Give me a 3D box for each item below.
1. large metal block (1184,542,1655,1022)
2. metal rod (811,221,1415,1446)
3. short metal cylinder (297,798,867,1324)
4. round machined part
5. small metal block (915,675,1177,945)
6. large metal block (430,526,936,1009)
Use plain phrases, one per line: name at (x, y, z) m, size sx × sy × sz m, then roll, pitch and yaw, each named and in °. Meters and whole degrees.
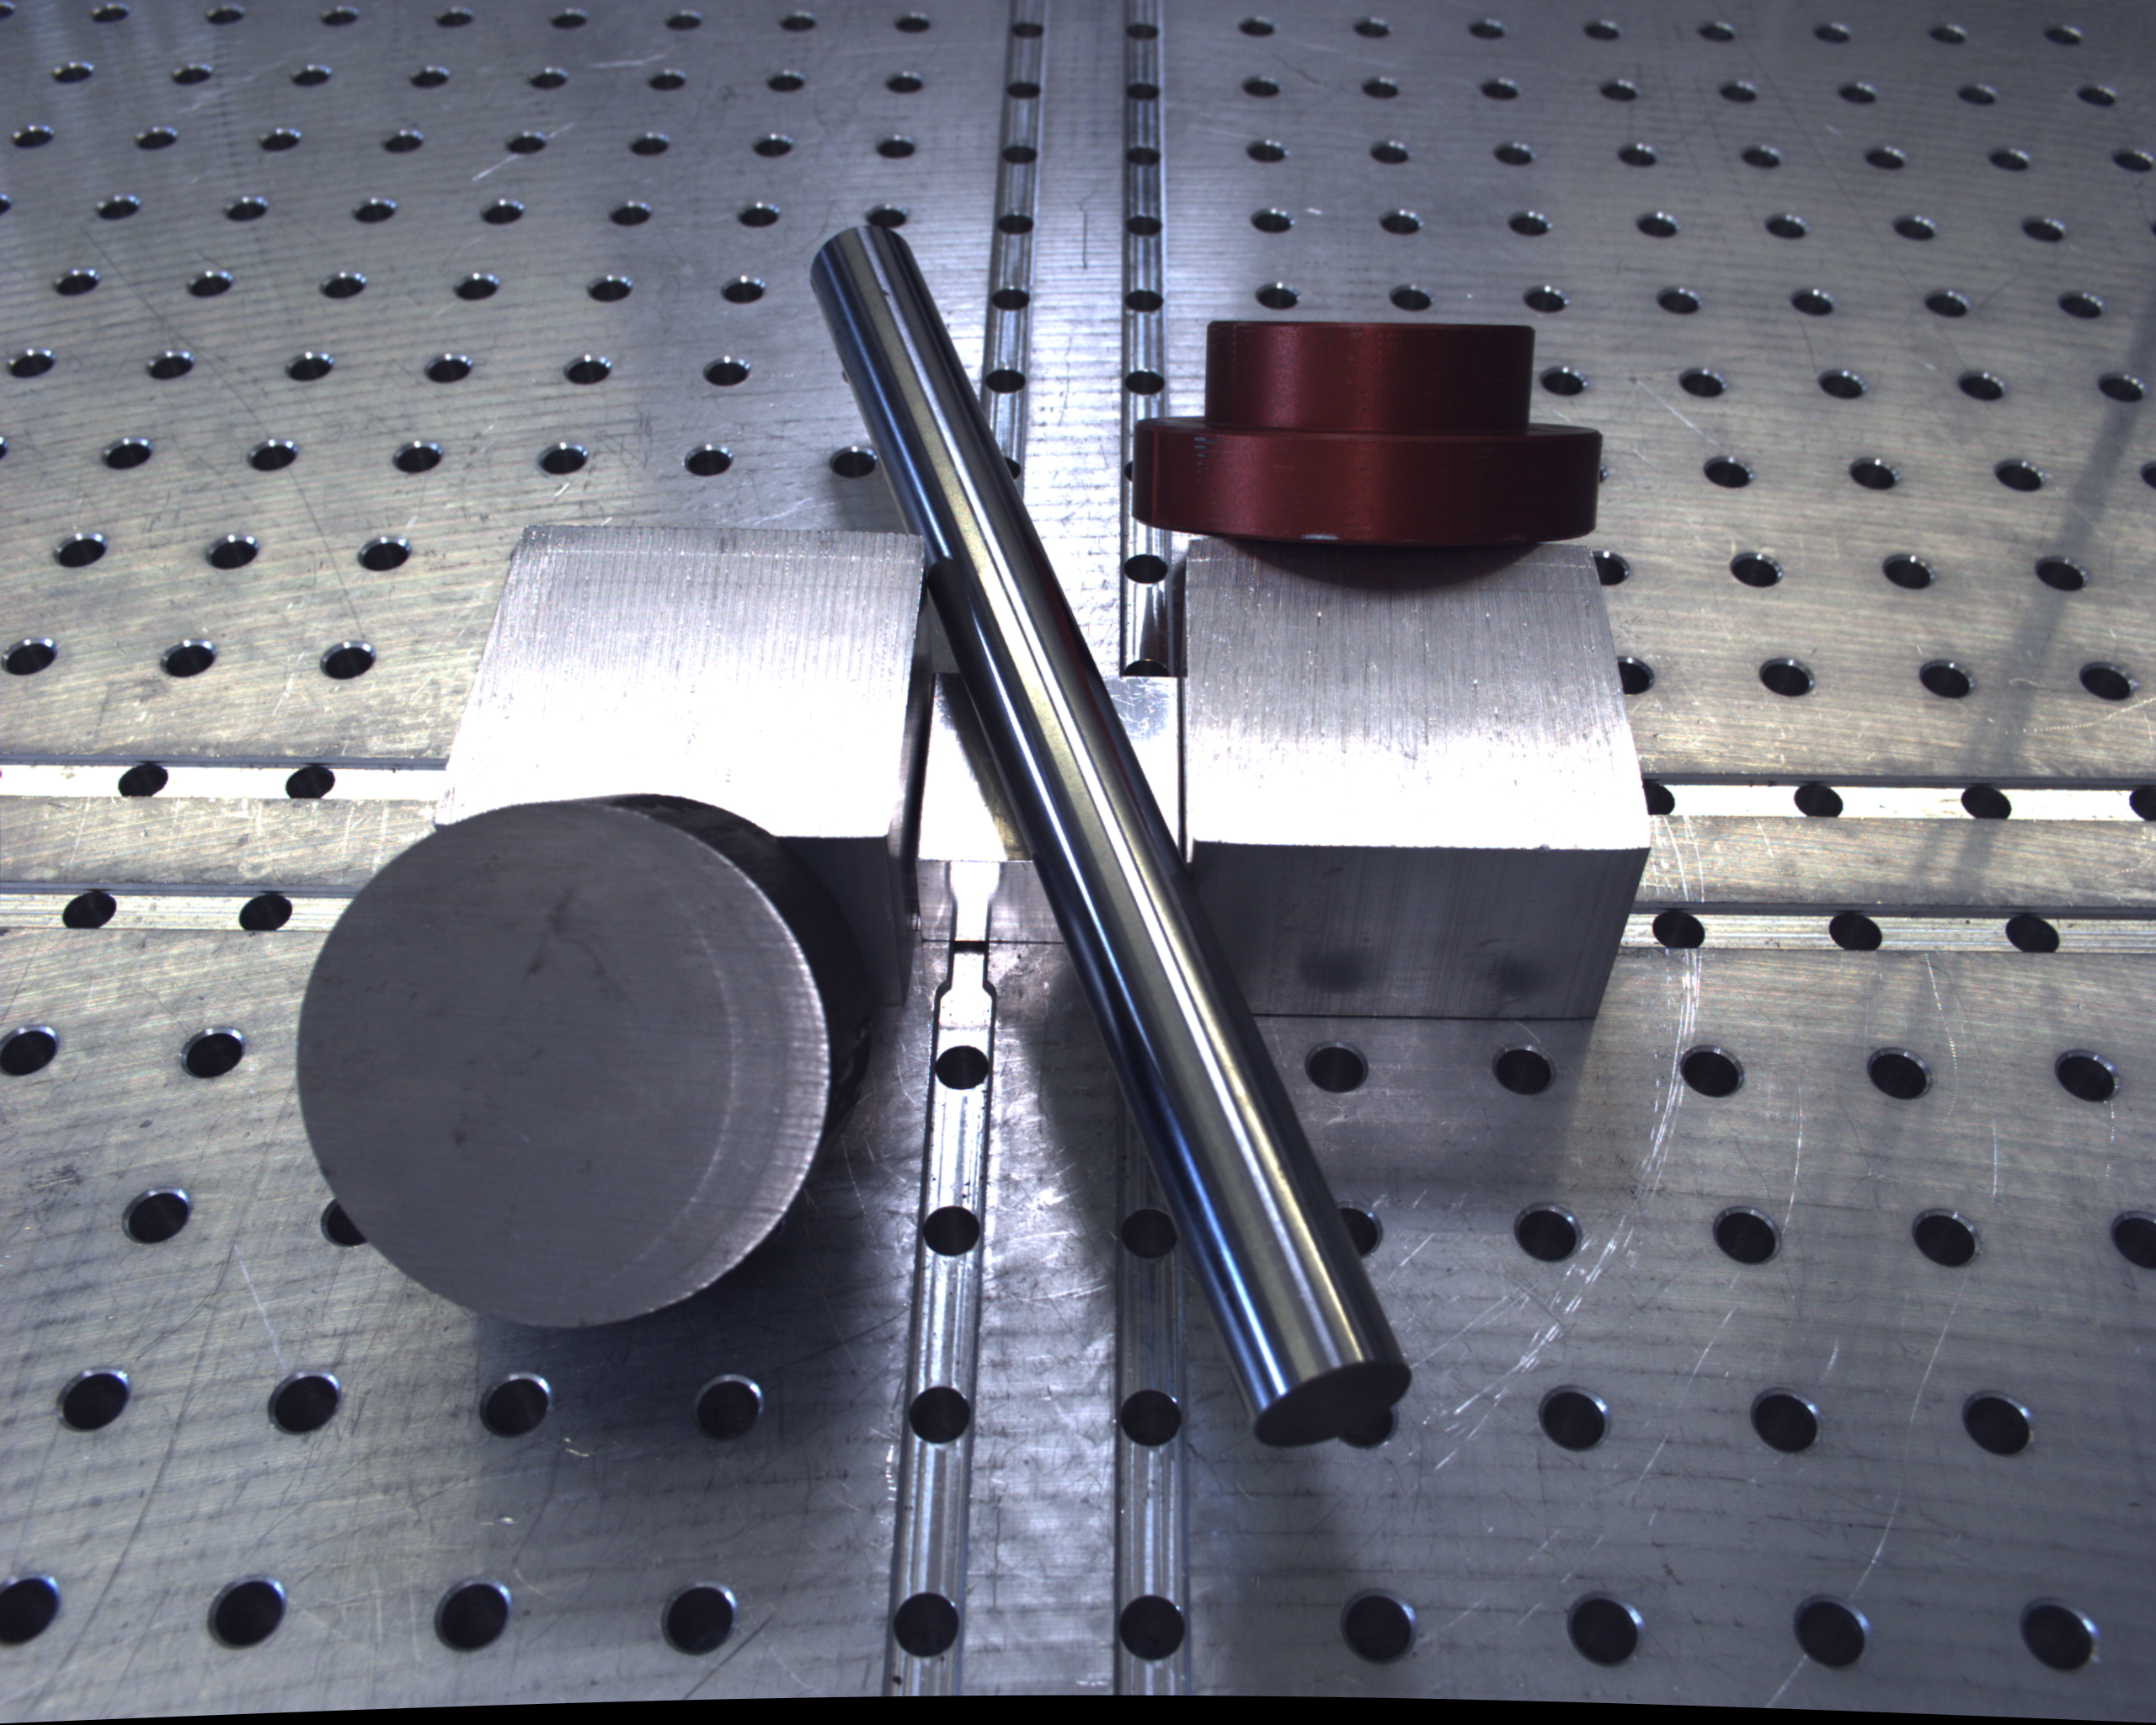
large metal block at (0.061, -0.017, 0.406) m, size 0.081 × 0.050 × 0.080 m, roll 1°, pitch 50°, yaw 0°
metal rod at (-0.006, -0.030, 0.399) m, size 0.025 × 0.025 × 0.300 m, roll -13°, pitch 51°, yaw -11°
short metal cylinder at (-0.077, 0.029, 0.339) m, size 0.080 × 0.050 × 0.079 m, roll 0°, pitch 93°, yaw 1°
round machined part at (0.061, -0.093, 0.443) m, size 0.099 × 0.042 × 0.098 m, roll 1°, pitch 15°, yaw 0°
small metal block at (-0.005, -0.011, 0.417) m, size 0.050 × 0.025 × 0.050 m, roll 1°, pitch 50°, yaw 0°
large metal block at (-0.072, -0.019, 0.408) m, size 0.080 × 0.050 × 0.080 m, roll 2°, pitch 50°, yaw 1°
